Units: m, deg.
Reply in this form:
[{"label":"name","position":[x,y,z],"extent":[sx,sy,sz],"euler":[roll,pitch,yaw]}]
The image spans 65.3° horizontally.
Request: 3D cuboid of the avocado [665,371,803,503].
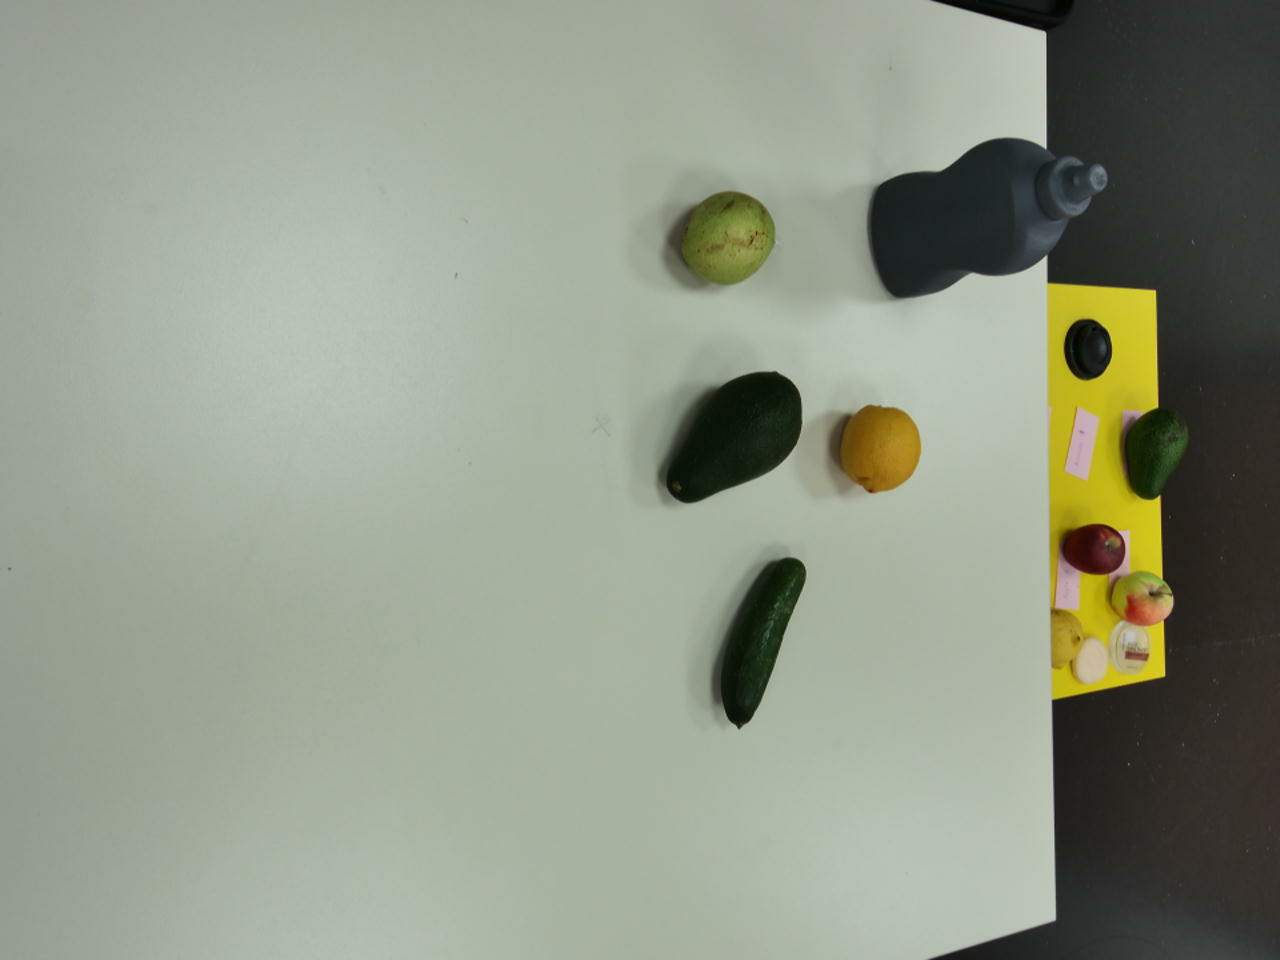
[{"label":"avocado","position":[0.066,-0.032,0.707],"extent":[0.109,0.071,0.072],"euler":[-26,102,-25]}]
